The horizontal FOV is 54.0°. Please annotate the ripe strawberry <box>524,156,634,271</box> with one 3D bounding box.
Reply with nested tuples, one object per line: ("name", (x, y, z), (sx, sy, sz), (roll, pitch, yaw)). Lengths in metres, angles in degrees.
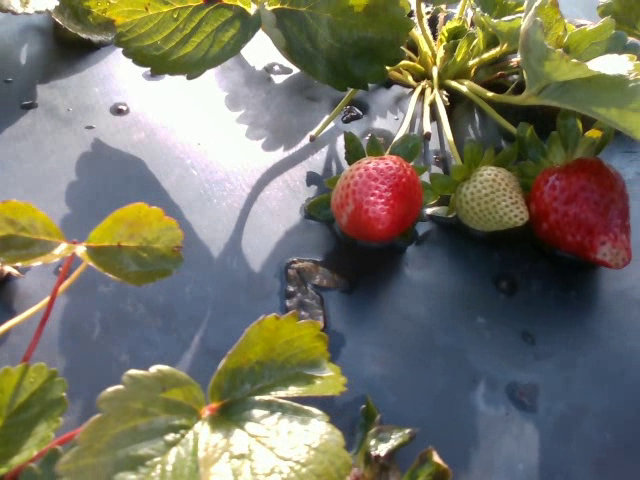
("ripe strawberry", (0.120, -0.009, 0.275), (0.048, 0.065, 0.050), (-29, -34, 25))
